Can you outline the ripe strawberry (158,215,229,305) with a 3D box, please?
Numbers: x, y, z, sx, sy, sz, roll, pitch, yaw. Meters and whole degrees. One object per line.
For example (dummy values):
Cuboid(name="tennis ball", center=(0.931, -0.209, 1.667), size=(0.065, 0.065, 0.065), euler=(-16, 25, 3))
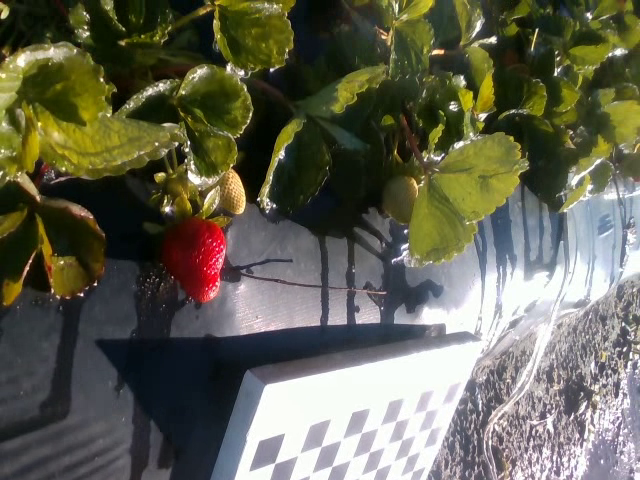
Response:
Cuboid(name="ripe strawberry", center=(-0.051, 0.012, 0.266), size=(0.039, 0.039, 0.040), euler=(-4, -38, -34))
